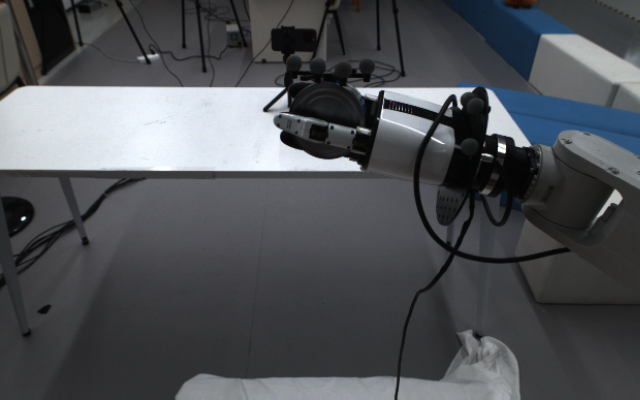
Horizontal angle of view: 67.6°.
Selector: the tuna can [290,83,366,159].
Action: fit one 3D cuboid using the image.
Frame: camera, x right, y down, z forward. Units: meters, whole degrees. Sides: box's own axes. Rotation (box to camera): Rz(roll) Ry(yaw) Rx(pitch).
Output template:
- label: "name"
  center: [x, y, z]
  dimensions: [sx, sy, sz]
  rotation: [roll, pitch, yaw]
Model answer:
- label: "tuna can"
  center: [0.011, -0.092, 0.544]
  dimensions: [0.085, 0.085, 0.034]
  rotation: [9, 23, 10]
